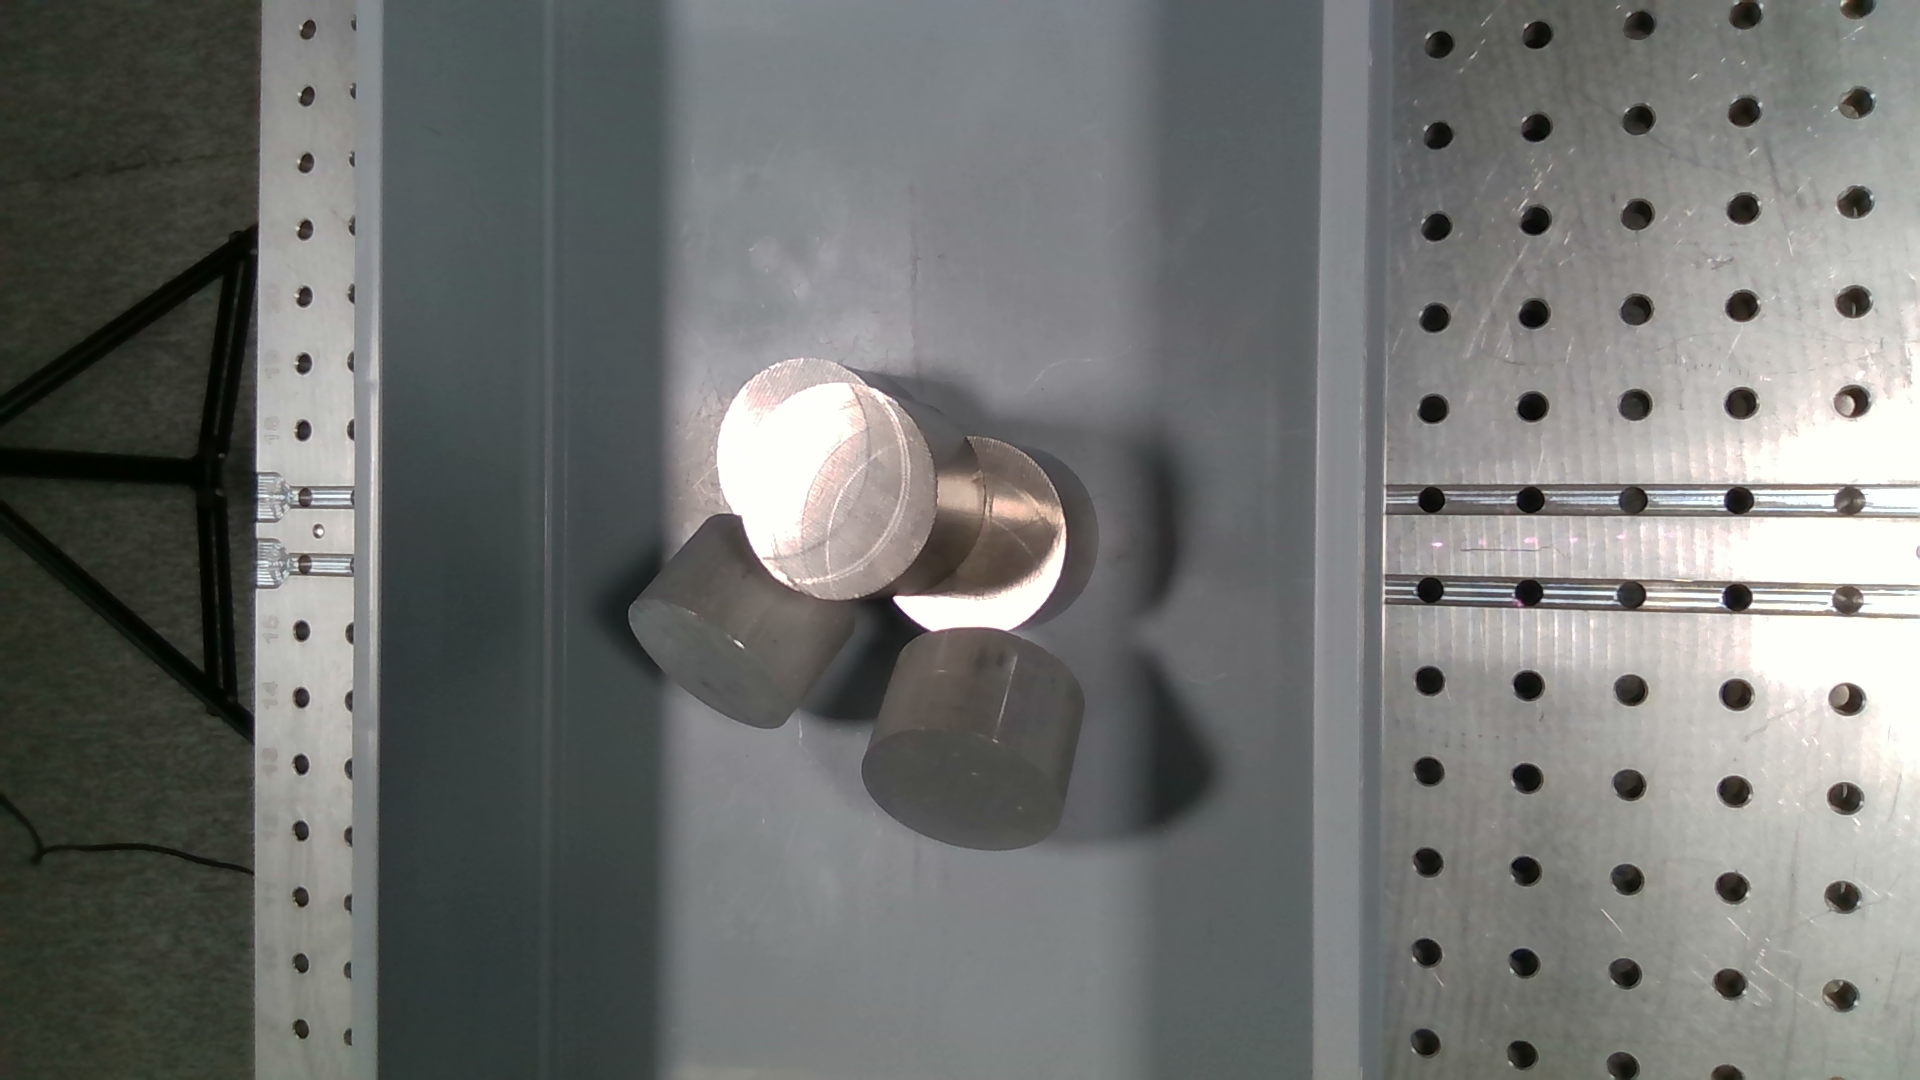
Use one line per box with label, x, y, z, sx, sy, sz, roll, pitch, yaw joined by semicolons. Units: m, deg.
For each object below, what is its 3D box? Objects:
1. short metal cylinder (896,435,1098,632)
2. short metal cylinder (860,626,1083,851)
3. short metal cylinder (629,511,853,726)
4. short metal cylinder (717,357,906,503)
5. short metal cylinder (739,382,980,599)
short metal cylinder;0.011;-0.002;0.566;0.080;0.050;0.080;0;90;20
short metal cylinder;0.006;0.080;0.548;0.080;0.050;0.080;9;137;9
short metal cylinder;-0.092;0.034;0.582;0.080;0.080;0.050;25;58;18
short metal cylinder;-0.057;-0.036;0.592;0.080;0.050;0.080;0;90;20
short metal cylinder;-0.037;-0.018;0.530;0.080;0.050;0.080;0;90;20
